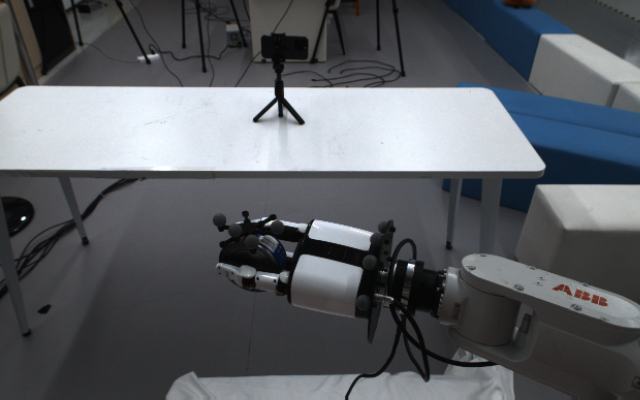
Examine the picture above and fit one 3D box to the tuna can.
[{"bbox_3d":[-0.086,0.079,0.644,0.085,0.085,0.034,11,34,12],"label":"tuna can"}]
